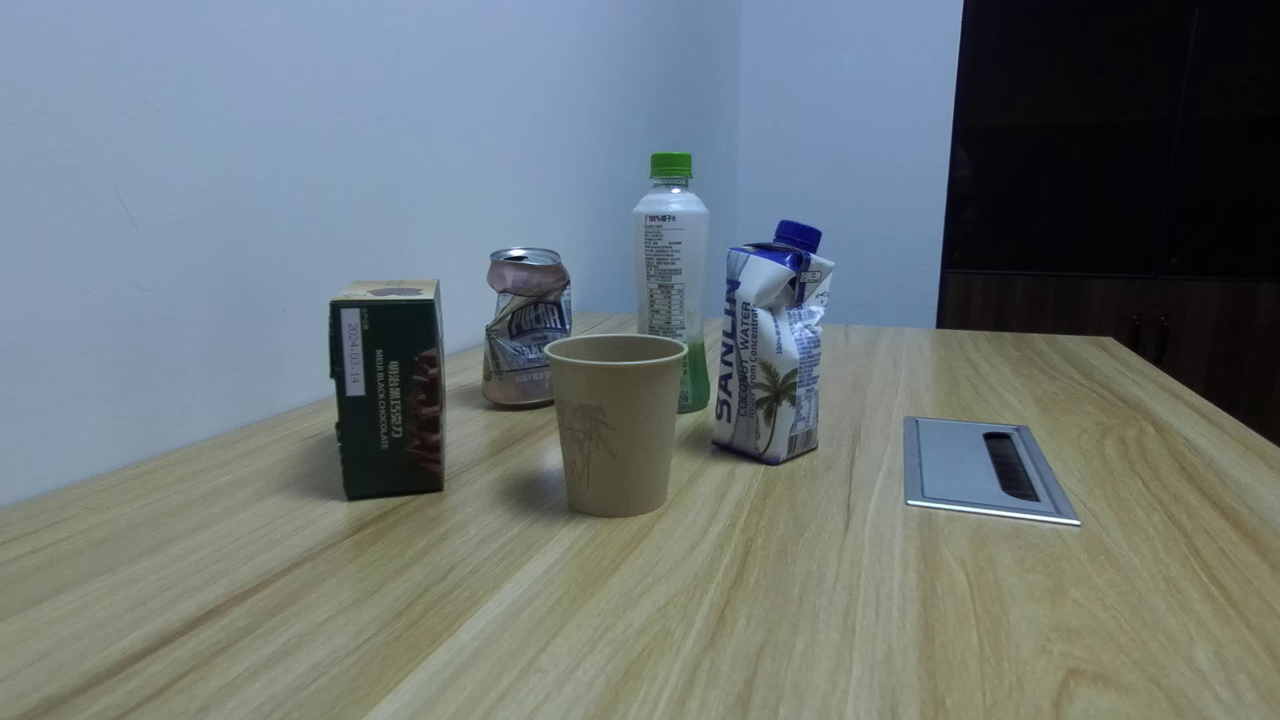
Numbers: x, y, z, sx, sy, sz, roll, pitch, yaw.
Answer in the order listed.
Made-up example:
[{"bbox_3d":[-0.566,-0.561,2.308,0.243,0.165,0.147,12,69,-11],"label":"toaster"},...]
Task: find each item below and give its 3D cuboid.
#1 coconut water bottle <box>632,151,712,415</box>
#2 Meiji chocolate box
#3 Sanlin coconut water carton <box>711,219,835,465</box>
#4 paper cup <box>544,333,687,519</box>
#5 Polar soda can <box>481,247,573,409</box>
[{"bbox_3d":[0.023,-0.058,0.536,0.063,0.188,0.063,1,10,0],"label":"coconut water bottle"},{"bbox_3d":[-0.145,0.011,0.421,0.056,0.109,0.109,-3,12,-15],"label":"Meiji chocolate box"},{"bbox_3d":[0.084,-0.013,0.439,0.070,0.143,0.060,-9,16,-43],"label":"Sanlin coconut water carton"},{"bbox_3d":[-0.013,0.034,0.372,0.075,0.082,0.075,0,13,0],"label":"paper cup"},{"bbox_3d":[-0.090,-0.024,0.556,0.066,0.121,0.071,6,14,8],"label":"Polar soda can"}]
